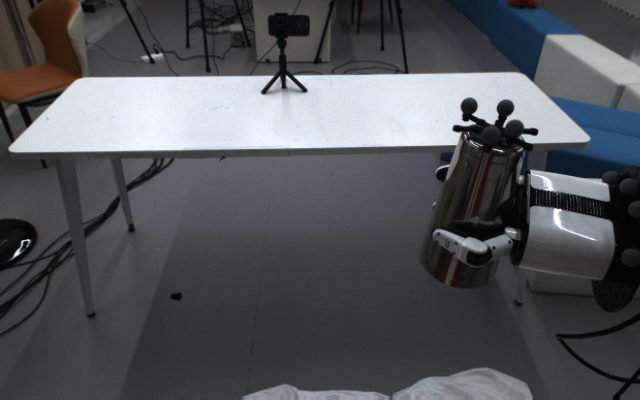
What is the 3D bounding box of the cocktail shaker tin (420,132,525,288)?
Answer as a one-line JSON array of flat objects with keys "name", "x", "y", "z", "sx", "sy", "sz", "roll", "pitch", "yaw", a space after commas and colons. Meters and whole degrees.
[{"name": "cocktail shaker tin", "x": 0.176, "y": 0.005, "z": 0.547, "sx": 0.093, "sy": 0.170, "sz": 0.093, "roll": 3, "pitch": 34, "yaw": -2}]
